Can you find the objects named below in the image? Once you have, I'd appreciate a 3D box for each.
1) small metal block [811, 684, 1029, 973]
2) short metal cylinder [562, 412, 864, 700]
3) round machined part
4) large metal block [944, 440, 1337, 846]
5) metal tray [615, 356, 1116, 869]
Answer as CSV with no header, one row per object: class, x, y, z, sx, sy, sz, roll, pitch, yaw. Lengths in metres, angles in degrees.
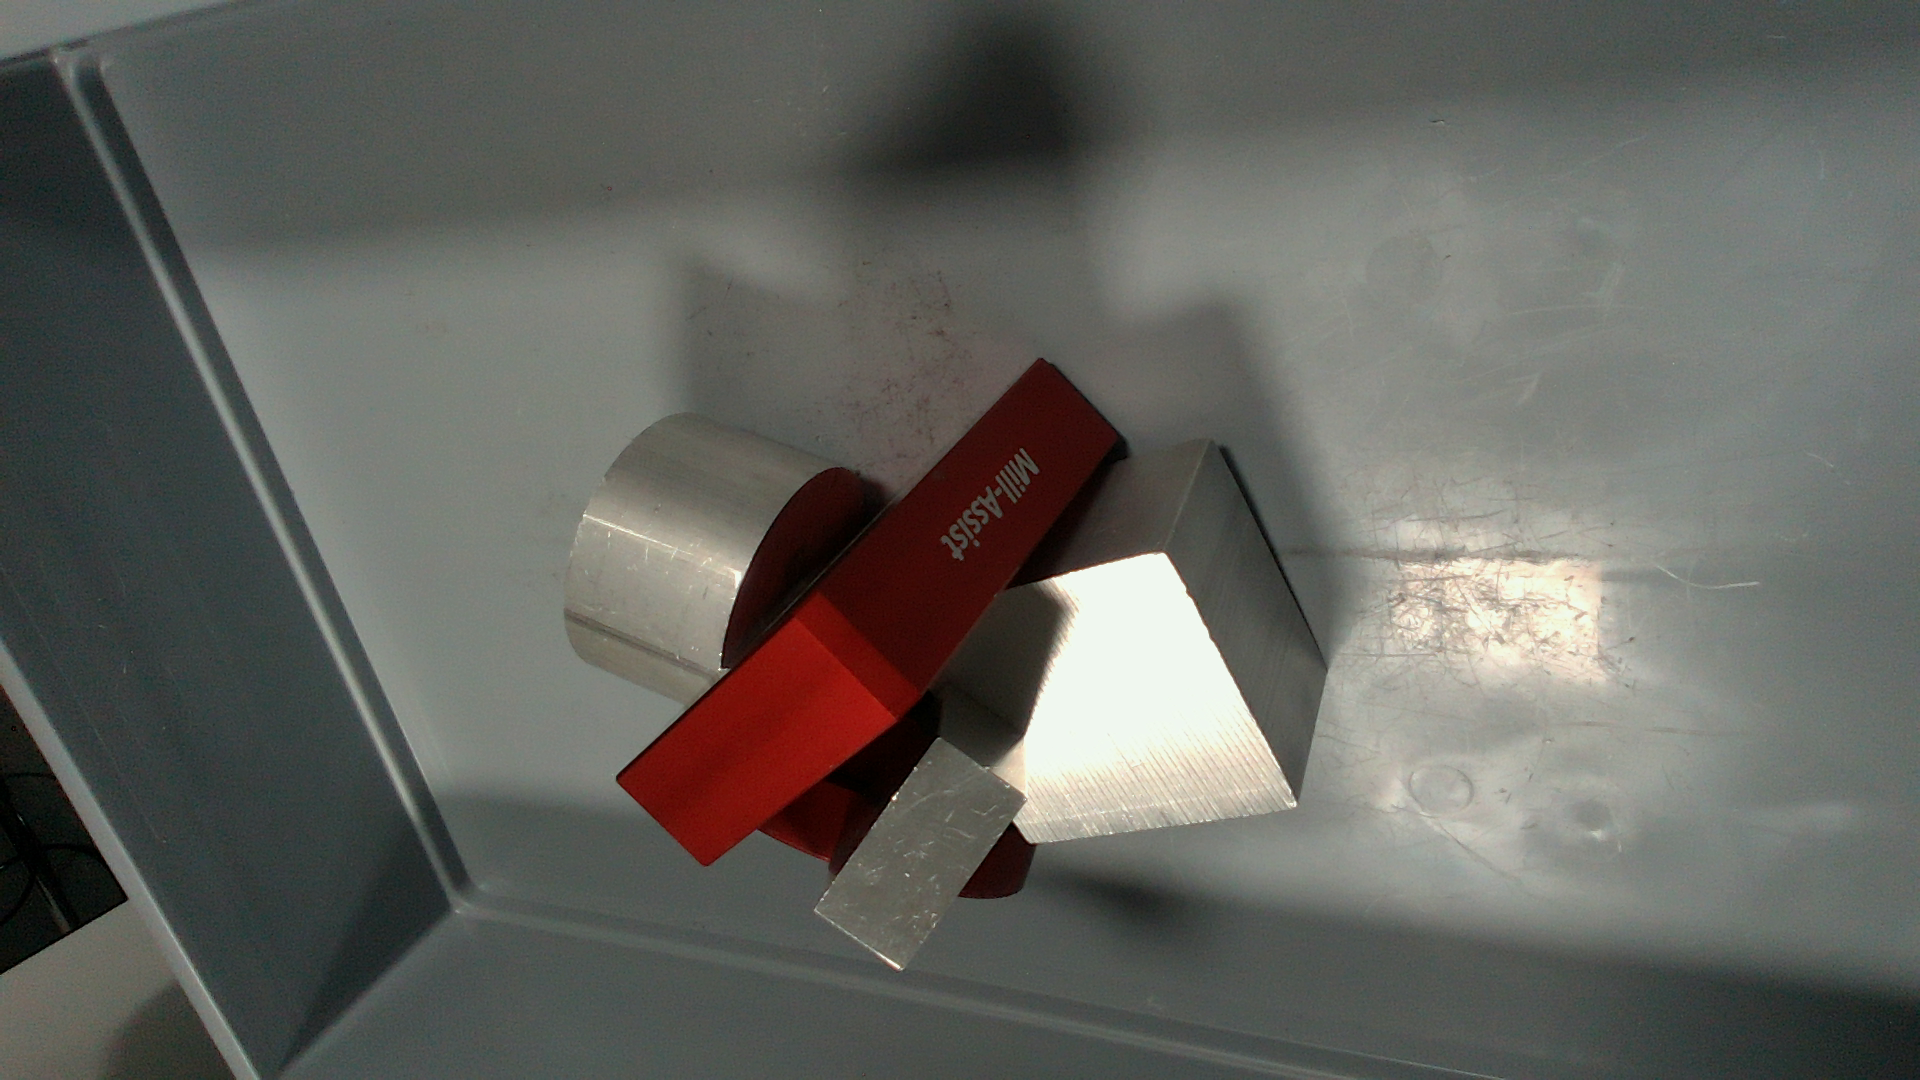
small metal block,-0.008,0.067,0.333,0.025,0.050,0.050,35,98,-3
short metal cylinder,-0.069,0.009,0.398,0.050,0.080,0.080,20,126,16
round machined part,-0.021,0.067,0.409,0.098,0.098,0.042,19,90,17
large metal block,0.042,0.030,0.362,0.080,0.050,0.080,-15,115,34
metal tray,-0.019,0.014,0.342,0.030,0.130,0.090,45,129,-5
